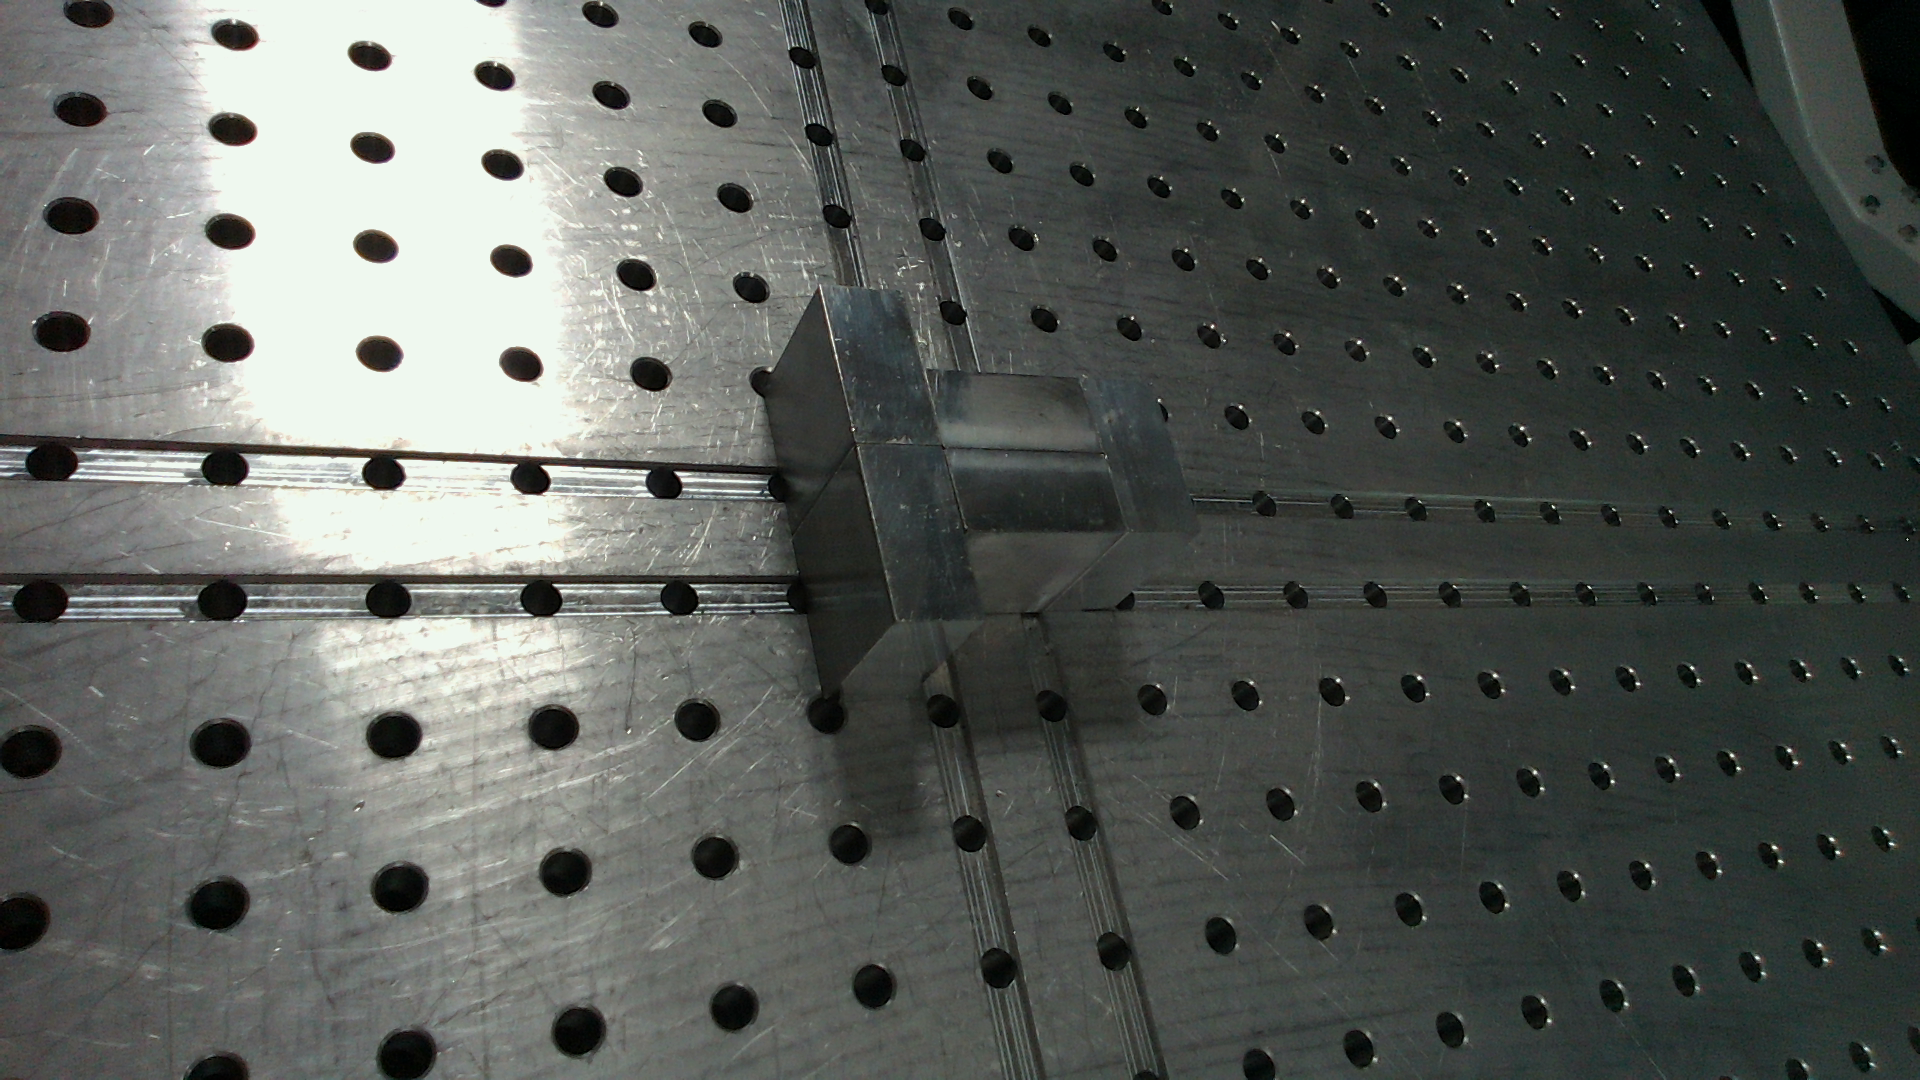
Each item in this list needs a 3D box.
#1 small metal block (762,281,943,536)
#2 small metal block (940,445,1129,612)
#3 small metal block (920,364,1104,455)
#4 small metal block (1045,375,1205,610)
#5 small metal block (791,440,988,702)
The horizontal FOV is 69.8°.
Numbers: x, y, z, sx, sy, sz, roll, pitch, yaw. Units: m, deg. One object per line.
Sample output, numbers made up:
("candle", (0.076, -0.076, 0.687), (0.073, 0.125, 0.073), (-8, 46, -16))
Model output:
("small metal block", (-0.031, -0.035, 0.380), (0.025, 0.050, 0.050), (0, 62, -28))
("small metal block", (0.010, -0.002, 0.382), (0.050, 0.050, 0.025), (0, 62, -28))
("small metal block", (0.005, -0.024, 0.393), (0.050, 0.050, 0.025), (0, 62, -28))
("small metal block", (0.041, -0.013, 0.406), (0.025, 0.050, 0.050), (0, 62, -28))
("small metal block", (-0.020, 0.009, 0.359), (0.025, 0.050, 0.050), (0, 62, -28))
